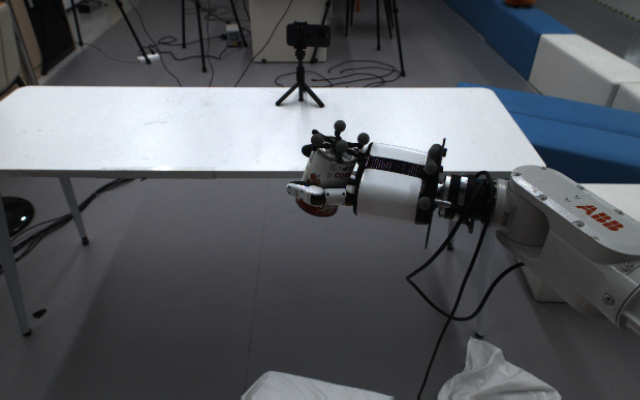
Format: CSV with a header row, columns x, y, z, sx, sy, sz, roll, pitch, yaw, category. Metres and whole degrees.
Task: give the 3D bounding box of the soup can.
x,y,z,sx,sy,sz,roll,pitch,yaw,category
0.010,-0.034,0.712,0.067,0.101,0.067,14,35,-10,soup can
